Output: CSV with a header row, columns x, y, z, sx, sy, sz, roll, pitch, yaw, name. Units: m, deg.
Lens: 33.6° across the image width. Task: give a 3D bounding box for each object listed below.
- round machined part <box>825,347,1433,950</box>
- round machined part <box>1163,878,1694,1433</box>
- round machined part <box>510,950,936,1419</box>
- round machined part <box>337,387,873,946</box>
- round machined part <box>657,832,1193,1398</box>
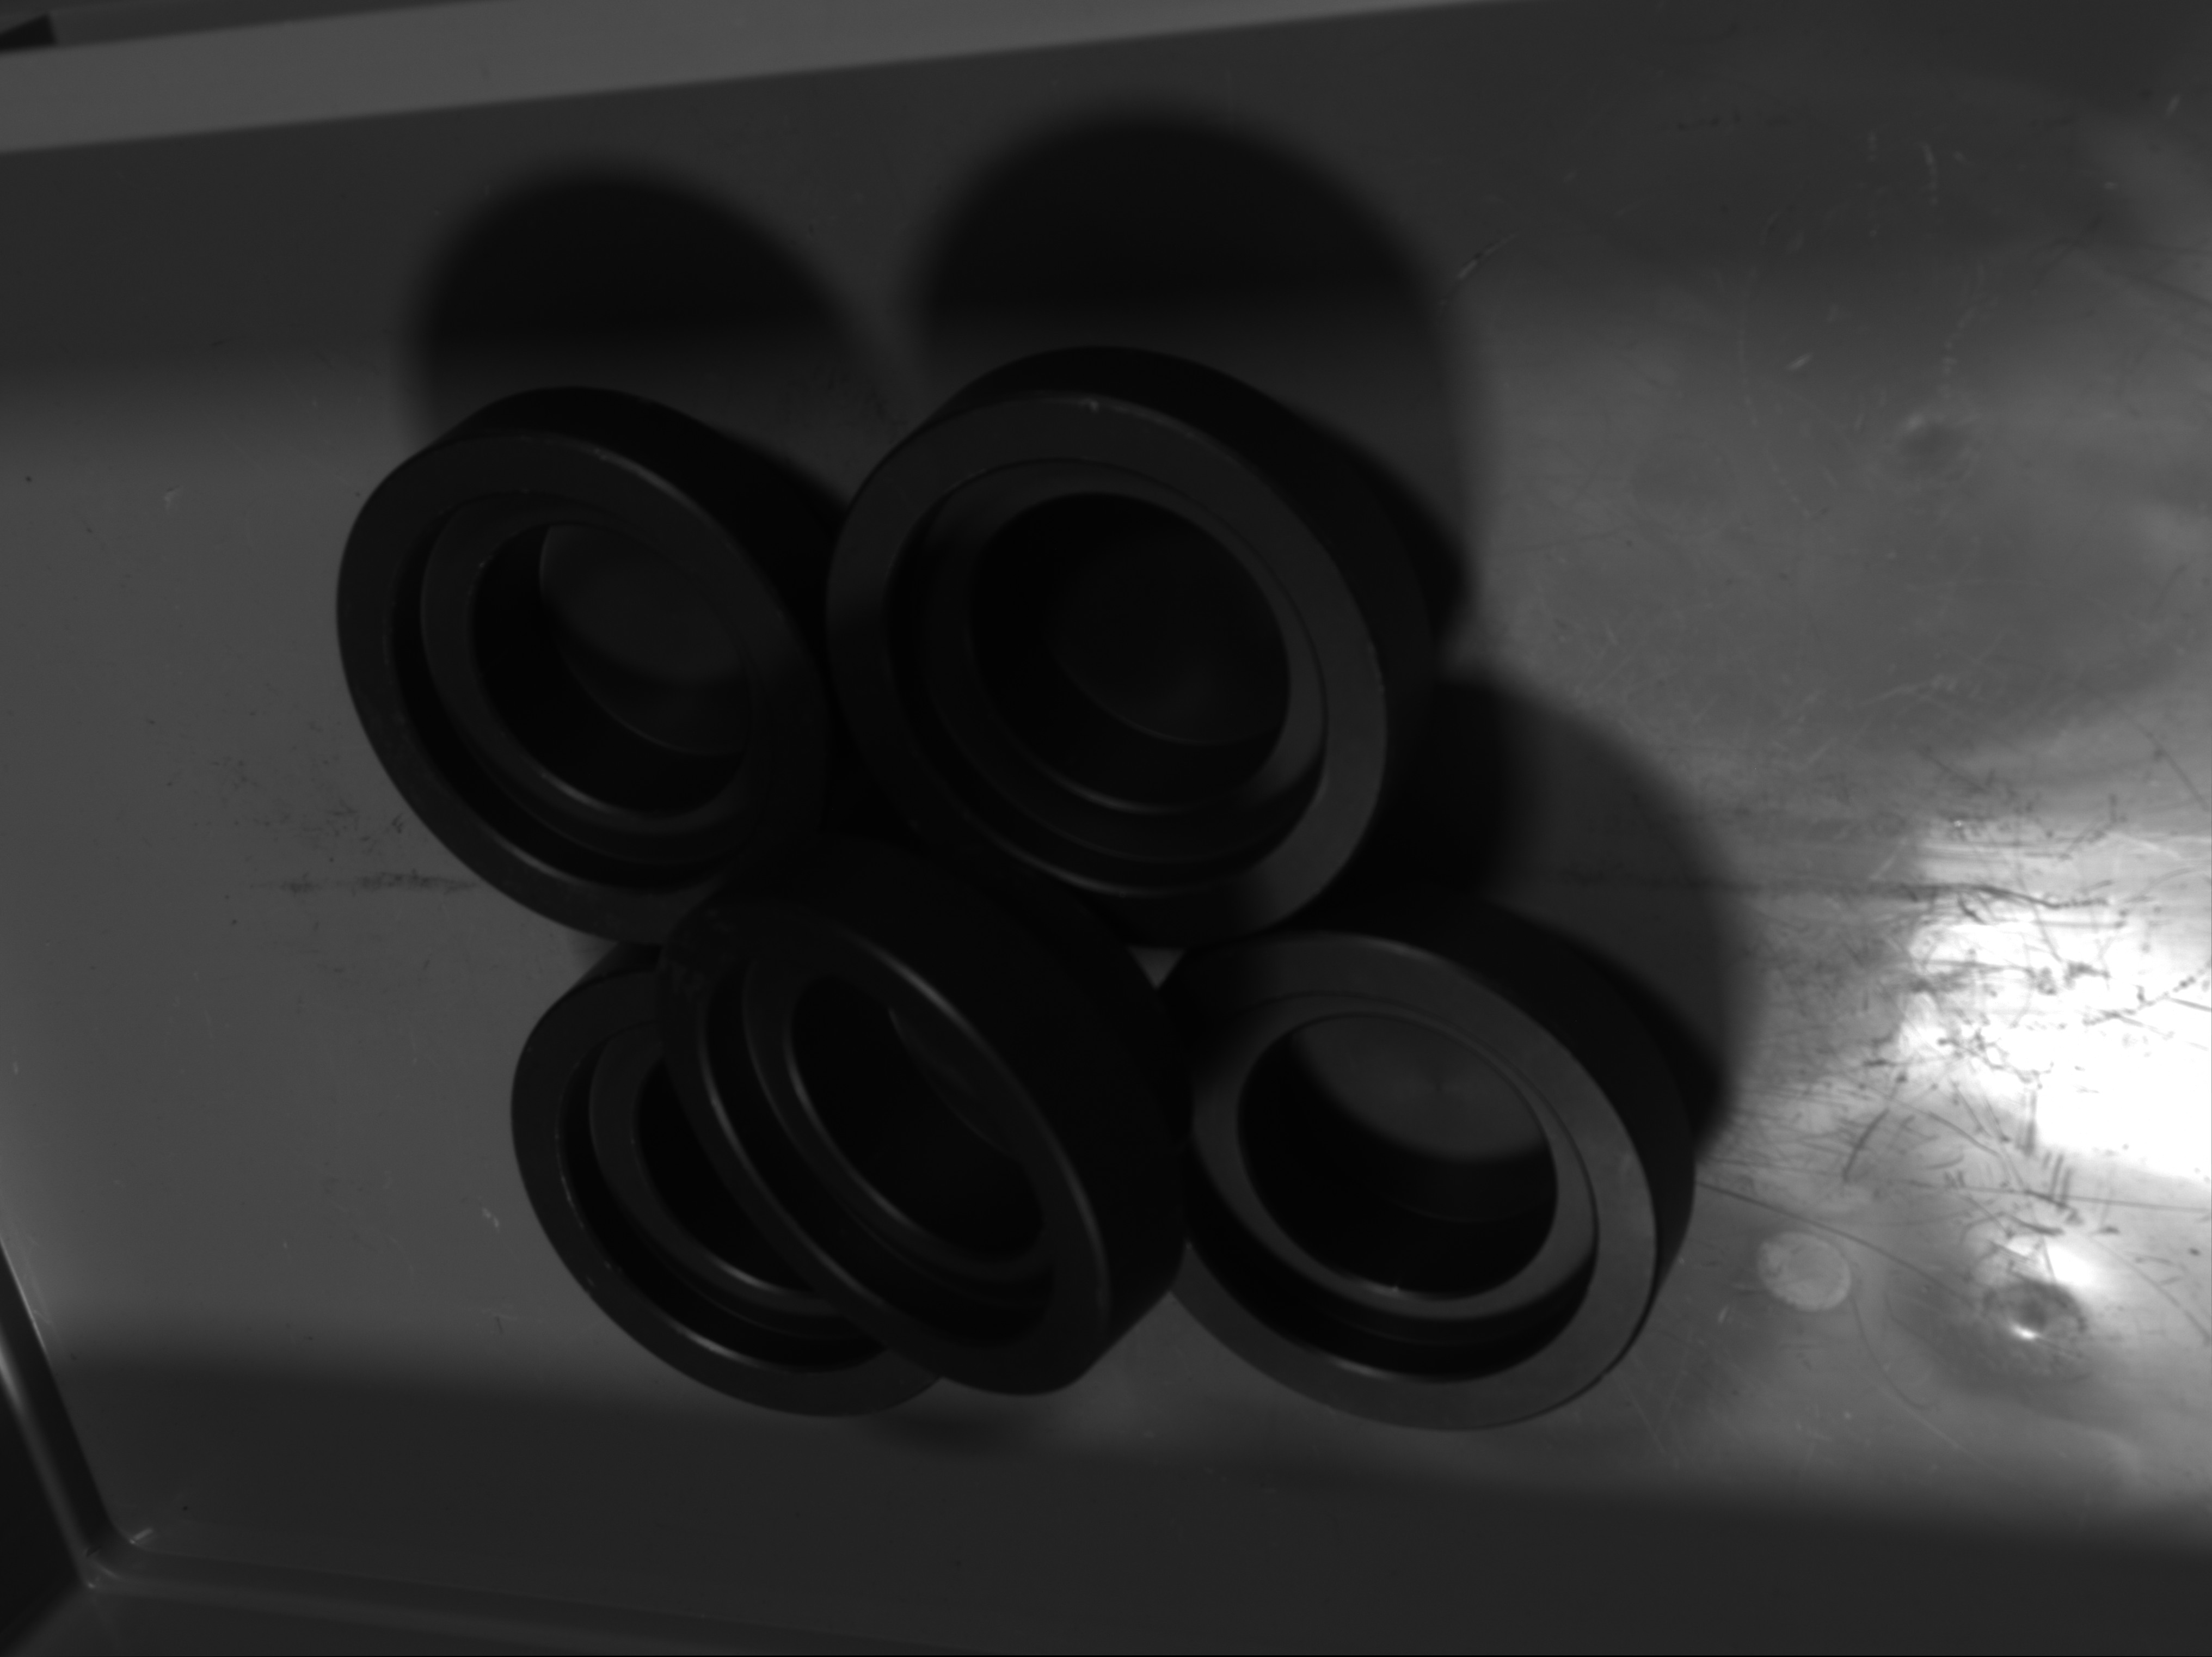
x,y,z,sx,sy,sz,roll,pitch,yaw,name
0.007,-0.033,0.595,0.098,0.042,0.098,12,123,20,round machined part
0.053,0.051,0.623,0.098,0.042,0.098,12,123,20,round machined part
-0.058,0.058,0.683,0.098,0.042,0.098,12,123,20,round machined part
-0.081,-0.032,0.640,0.098,0.042,0.098,12,123,20,round machined part
-0.025,0.042,0.602,0.098,0.042,0.098,29,140,28,round machined part
